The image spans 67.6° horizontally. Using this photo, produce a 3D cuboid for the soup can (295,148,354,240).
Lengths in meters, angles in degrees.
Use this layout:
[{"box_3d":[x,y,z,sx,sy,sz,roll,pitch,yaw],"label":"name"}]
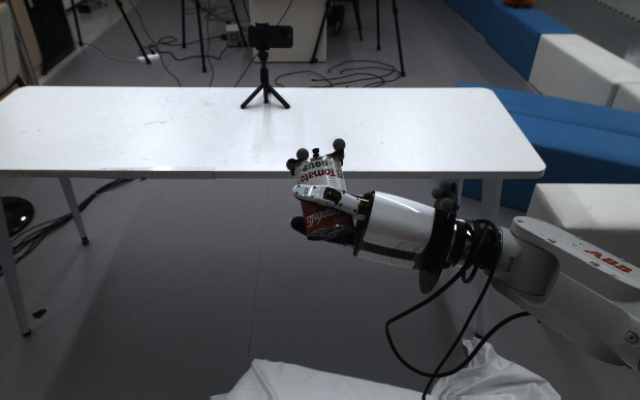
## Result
[{"box_3d":[0.007,-0.001,0.668,0.067,0.067,0.101,-8,74,-14],"label":"soup can"}]
